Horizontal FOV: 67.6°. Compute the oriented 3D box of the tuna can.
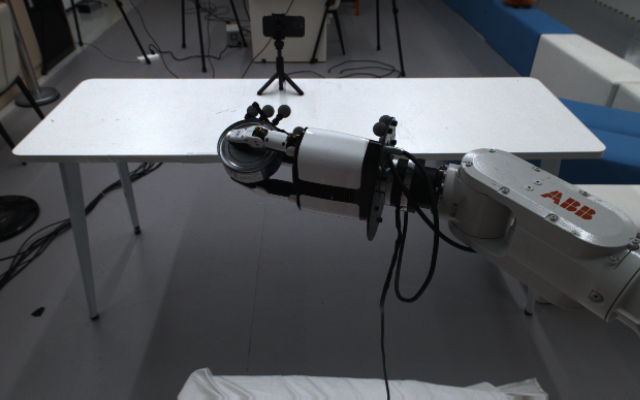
[{"bbox_3d":[-0.094,-0.066,0.659,0.085,0.034,0.085,-2,60,3],"label":"tuna can"}]
